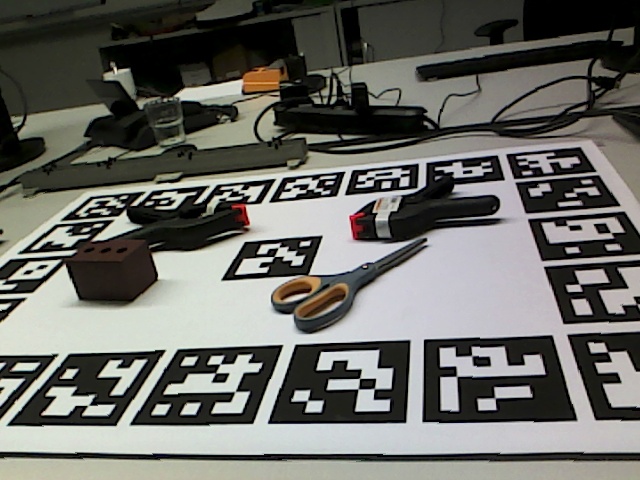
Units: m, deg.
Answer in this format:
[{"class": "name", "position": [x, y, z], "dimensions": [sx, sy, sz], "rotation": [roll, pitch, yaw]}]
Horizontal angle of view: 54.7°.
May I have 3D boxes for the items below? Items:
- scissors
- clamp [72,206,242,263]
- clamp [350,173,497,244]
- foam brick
[{"class": "scissors", "position": [0.031, 0.043, 0.640], "dimensions": [0.202, 0.016, 0.088], "rotation": [-28, 38, -34]}, {"class": "clamp", "position": [-0.204, -0.015, 0.830], "dimensions": [0.203, 0.036, 0.165], "rotation": [-6, 24, 8]}, {"class": "clamp", "position": [0.113, -0.032, 0.752], "dimensions": [0.165, 0.036, 0.122], "rotation": [-18, 34, -12]}, {"class": "foam brick", "position": [-0.242, 0.045, 0.712], "dimensions": [0.078, 0.051, 0.053], "rotation": [-5, 28, 22]}]
